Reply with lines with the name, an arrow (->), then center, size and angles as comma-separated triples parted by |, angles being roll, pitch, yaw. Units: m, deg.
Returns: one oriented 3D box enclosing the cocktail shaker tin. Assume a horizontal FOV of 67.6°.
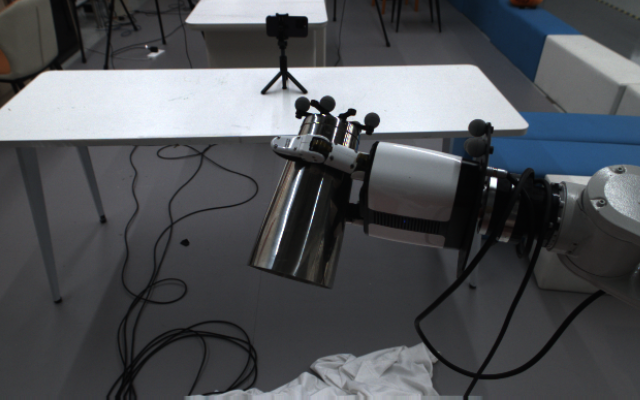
cocktail shaker tin -> -0.006, -0.003, 0.515 | 0.093, 0.093, 0.170 | 13, 77, 15
